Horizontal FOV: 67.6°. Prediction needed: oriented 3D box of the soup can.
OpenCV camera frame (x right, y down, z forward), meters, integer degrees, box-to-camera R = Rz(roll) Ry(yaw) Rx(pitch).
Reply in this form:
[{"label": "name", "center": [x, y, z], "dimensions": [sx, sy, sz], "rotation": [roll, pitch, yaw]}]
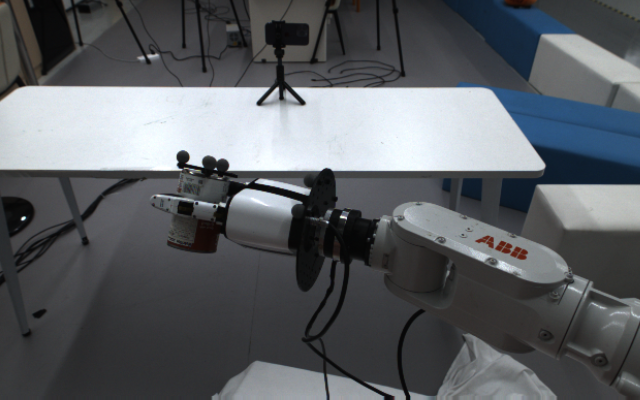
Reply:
[{"label": "soup can", "center": [-0.162, 0.016, 0.649], "dimensions": [0.067, 0.101, 0.067], "rotation": [12, 2, 0]}]
